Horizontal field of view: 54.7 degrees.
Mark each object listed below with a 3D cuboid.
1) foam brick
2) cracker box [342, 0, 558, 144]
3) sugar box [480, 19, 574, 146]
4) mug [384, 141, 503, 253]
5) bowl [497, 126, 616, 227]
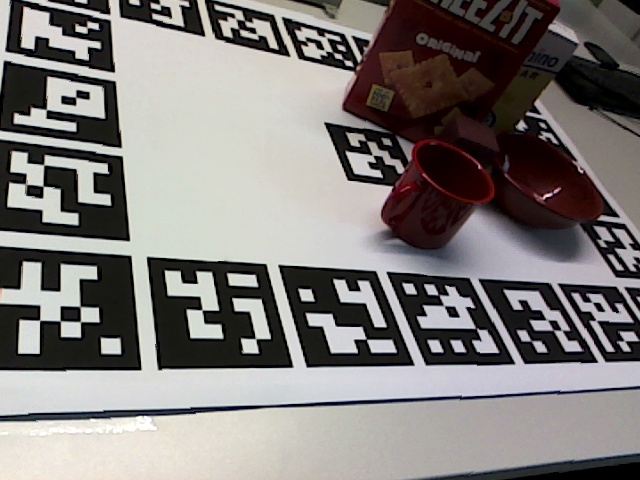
[{"bbox_3d":[0.159,-0.098,0.727,0.052,0.078,0.051,16,41,-15],"label":"foam brick"},{"bbox_3d":[0.147,-0.222,0.736,0.164,0.214,0.072,26,38,-6],"label":"cracker box"},{"bbox_3d":[0.235,-0.212,0.805,0.092,0.176,0.045,20,41,-11],"label":"sugar box"},{"bbox_3d":[0.114,-0.041,0.625,0.116,0.081,0.094,-4,43,-32],"label":"mug"},{"bbox_3d":[0.277,-0.068,0.760,0.161,0.055,0.162,16,43,-16],"label":"bowl"}]
